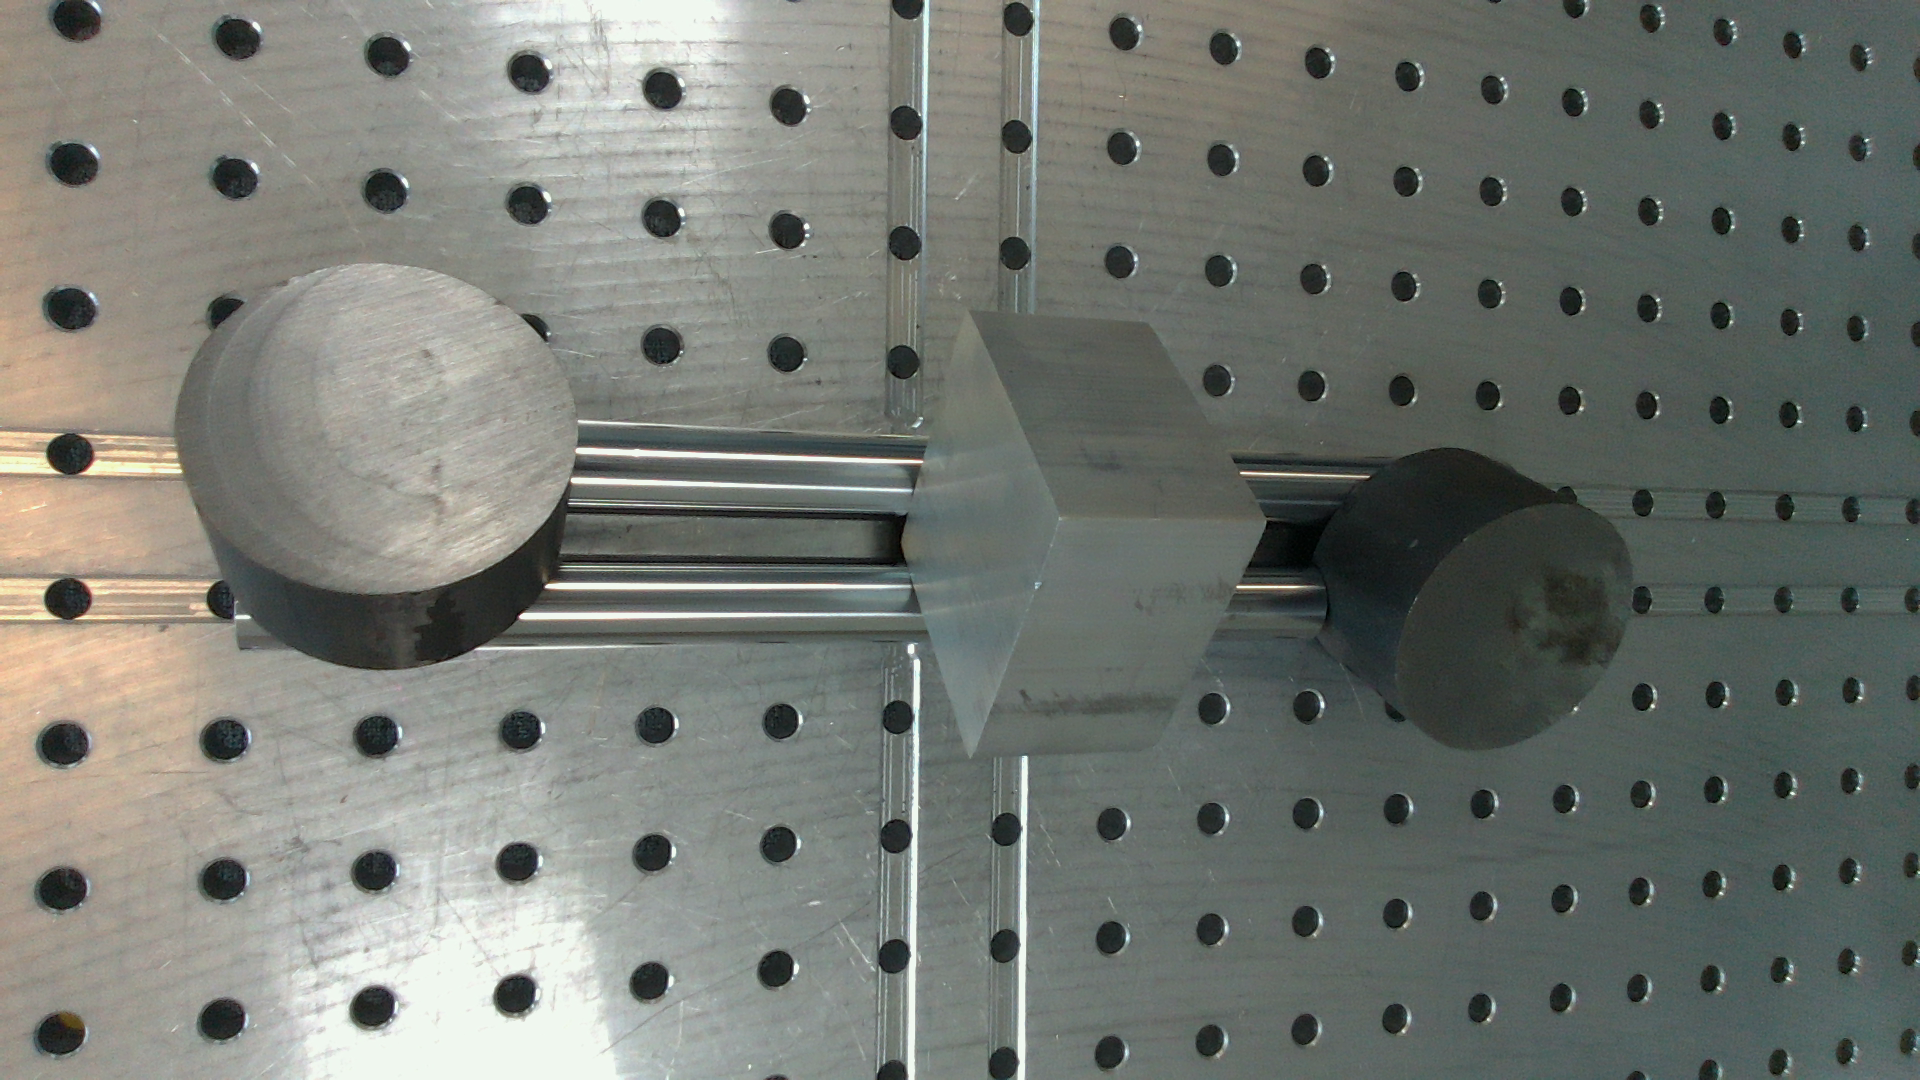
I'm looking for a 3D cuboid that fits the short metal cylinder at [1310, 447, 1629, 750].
[{"bbox_3d":[0.155,0.017,0.425,0.080,0.050,0.080,-7,114,-16],"label":"short metal cylinder"}]

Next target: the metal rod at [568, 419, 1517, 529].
[{"bbox_3d":[0.038,-0.017,0.409,0.301,0.025,0.025,1,90,-20],"label":"metal rod"}]

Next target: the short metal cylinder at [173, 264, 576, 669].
[{"bbox_3d":[-0.132,-0.016,0.319,0.080,0.050,0.080,8,65,-17],"label":"short metal cylinder"}]

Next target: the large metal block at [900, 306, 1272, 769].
[{"bbox_3d":[0.026,-0.001,0.344,0.050,0.080,0.080,1,132,-20],"label":"large metal block"}]

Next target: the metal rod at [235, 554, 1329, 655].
[{"bbox_3d":[-0.032,0.017,0.384,0.301,0.025,0.025,1,90,-20],"label":"metal rod"}]
